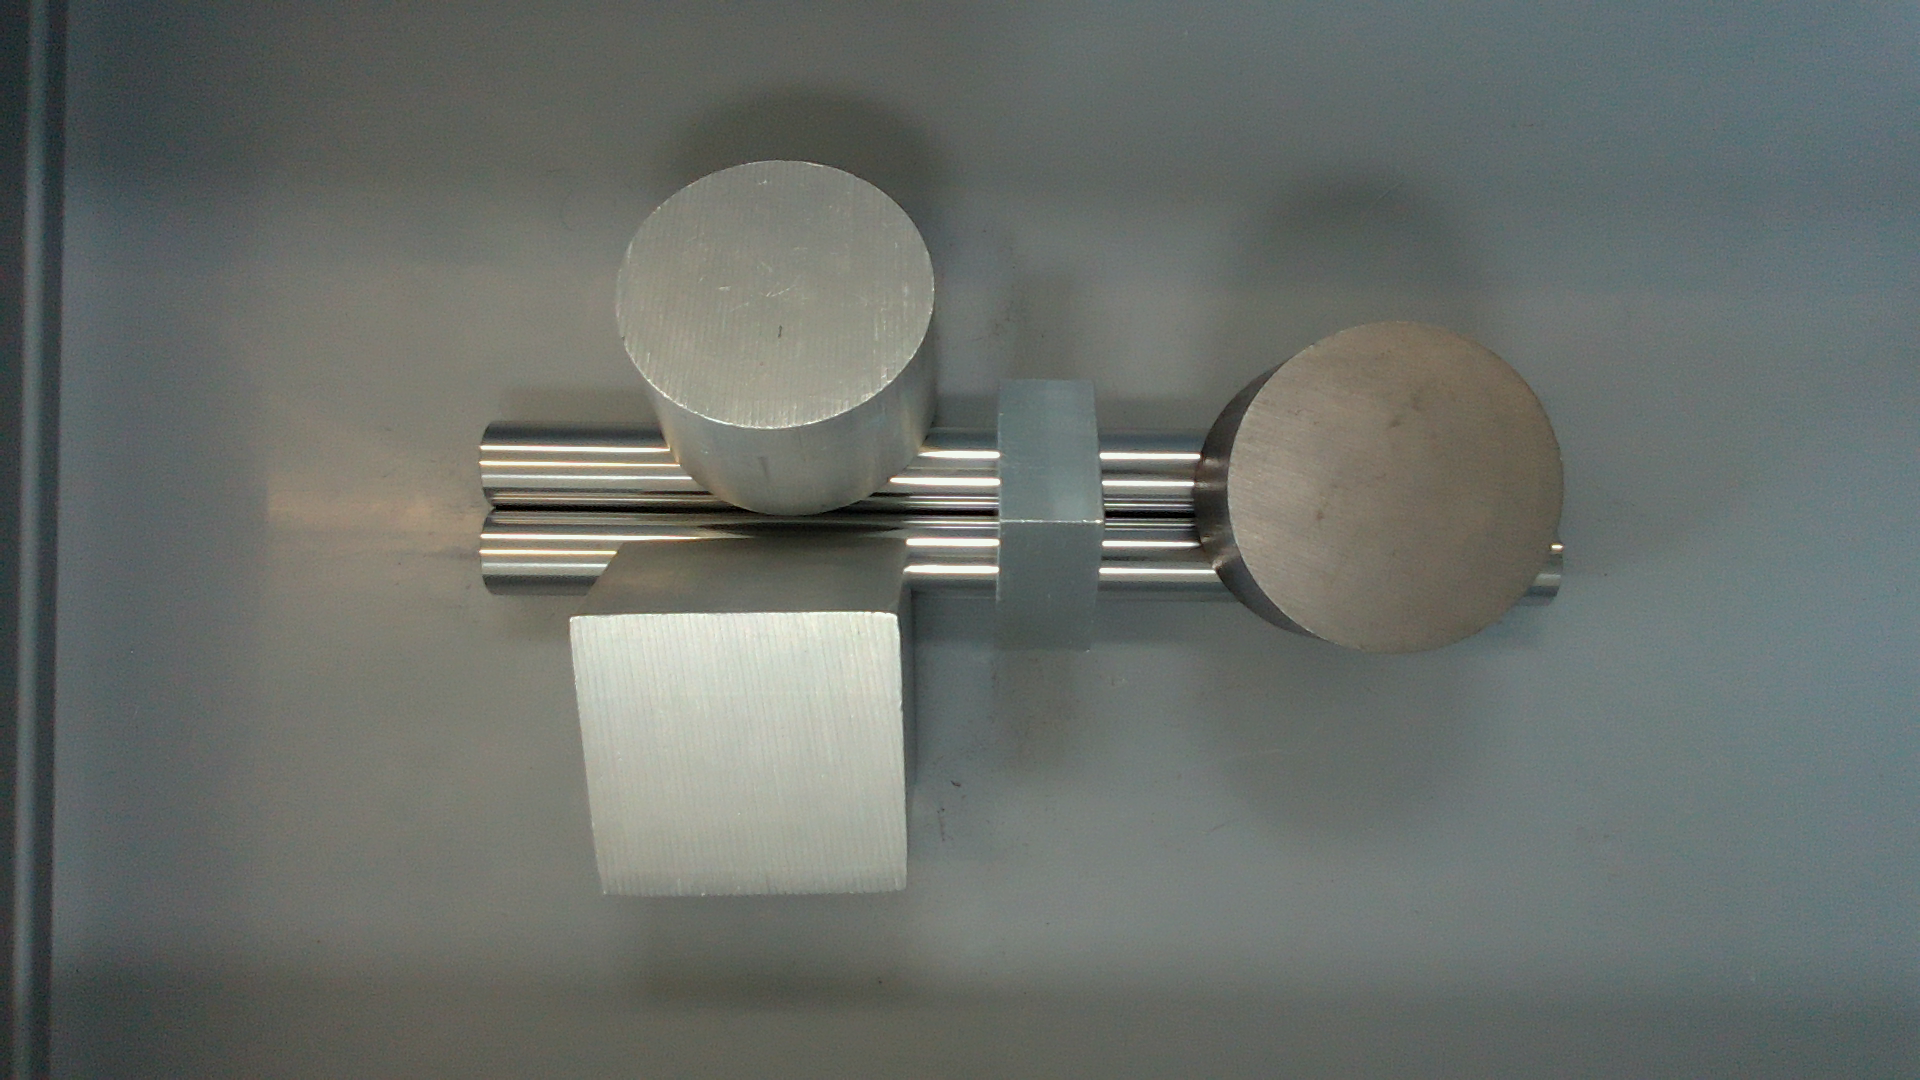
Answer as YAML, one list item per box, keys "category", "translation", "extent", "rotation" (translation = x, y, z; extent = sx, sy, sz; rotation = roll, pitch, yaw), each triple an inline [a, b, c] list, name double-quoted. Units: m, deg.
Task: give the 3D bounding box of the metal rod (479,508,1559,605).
- category: "metal rod"
  translation: [0.017, 0.005, 0.395]
  extent: [0.300, 0.025, 0.025]
  rotation: [1, 90, 0]

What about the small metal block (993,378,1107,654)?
- category: "small metal block"
  translation: [0.022, -0.006, 0.354]
  extent: [0.025, 0.050, 0.050]
  rotation: [1, 48, 0]

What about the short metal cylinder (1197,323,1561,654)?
- category: "short metal cylinder"
  translation: [0.105, -0.012, 0.357]
  extent: [0.080, 0.050, 0.080]
  rotation: [0, 90, 0]

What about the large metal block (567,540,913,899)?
- category: "large metal block"
  translation: [-0.054, 0.047, 0.368]
  extent: [0.080, 0.050, 0.080]
  rotation: [-1, 110, 0]

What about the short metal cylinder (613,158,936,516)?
- category: "short metal cylinder"
  translation: [-0.047, -0.053, 0.367]
  extent: [0.080, 0.050, 0.080]
  rotation: [0, 66, 0]

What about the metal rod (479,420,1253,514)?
- category: "metal rod"
  translation: [0.017, -0.020, 0.394]
  extent: [0.300, 0.025, 0.025]
  rotation: [1, 90, 0]
